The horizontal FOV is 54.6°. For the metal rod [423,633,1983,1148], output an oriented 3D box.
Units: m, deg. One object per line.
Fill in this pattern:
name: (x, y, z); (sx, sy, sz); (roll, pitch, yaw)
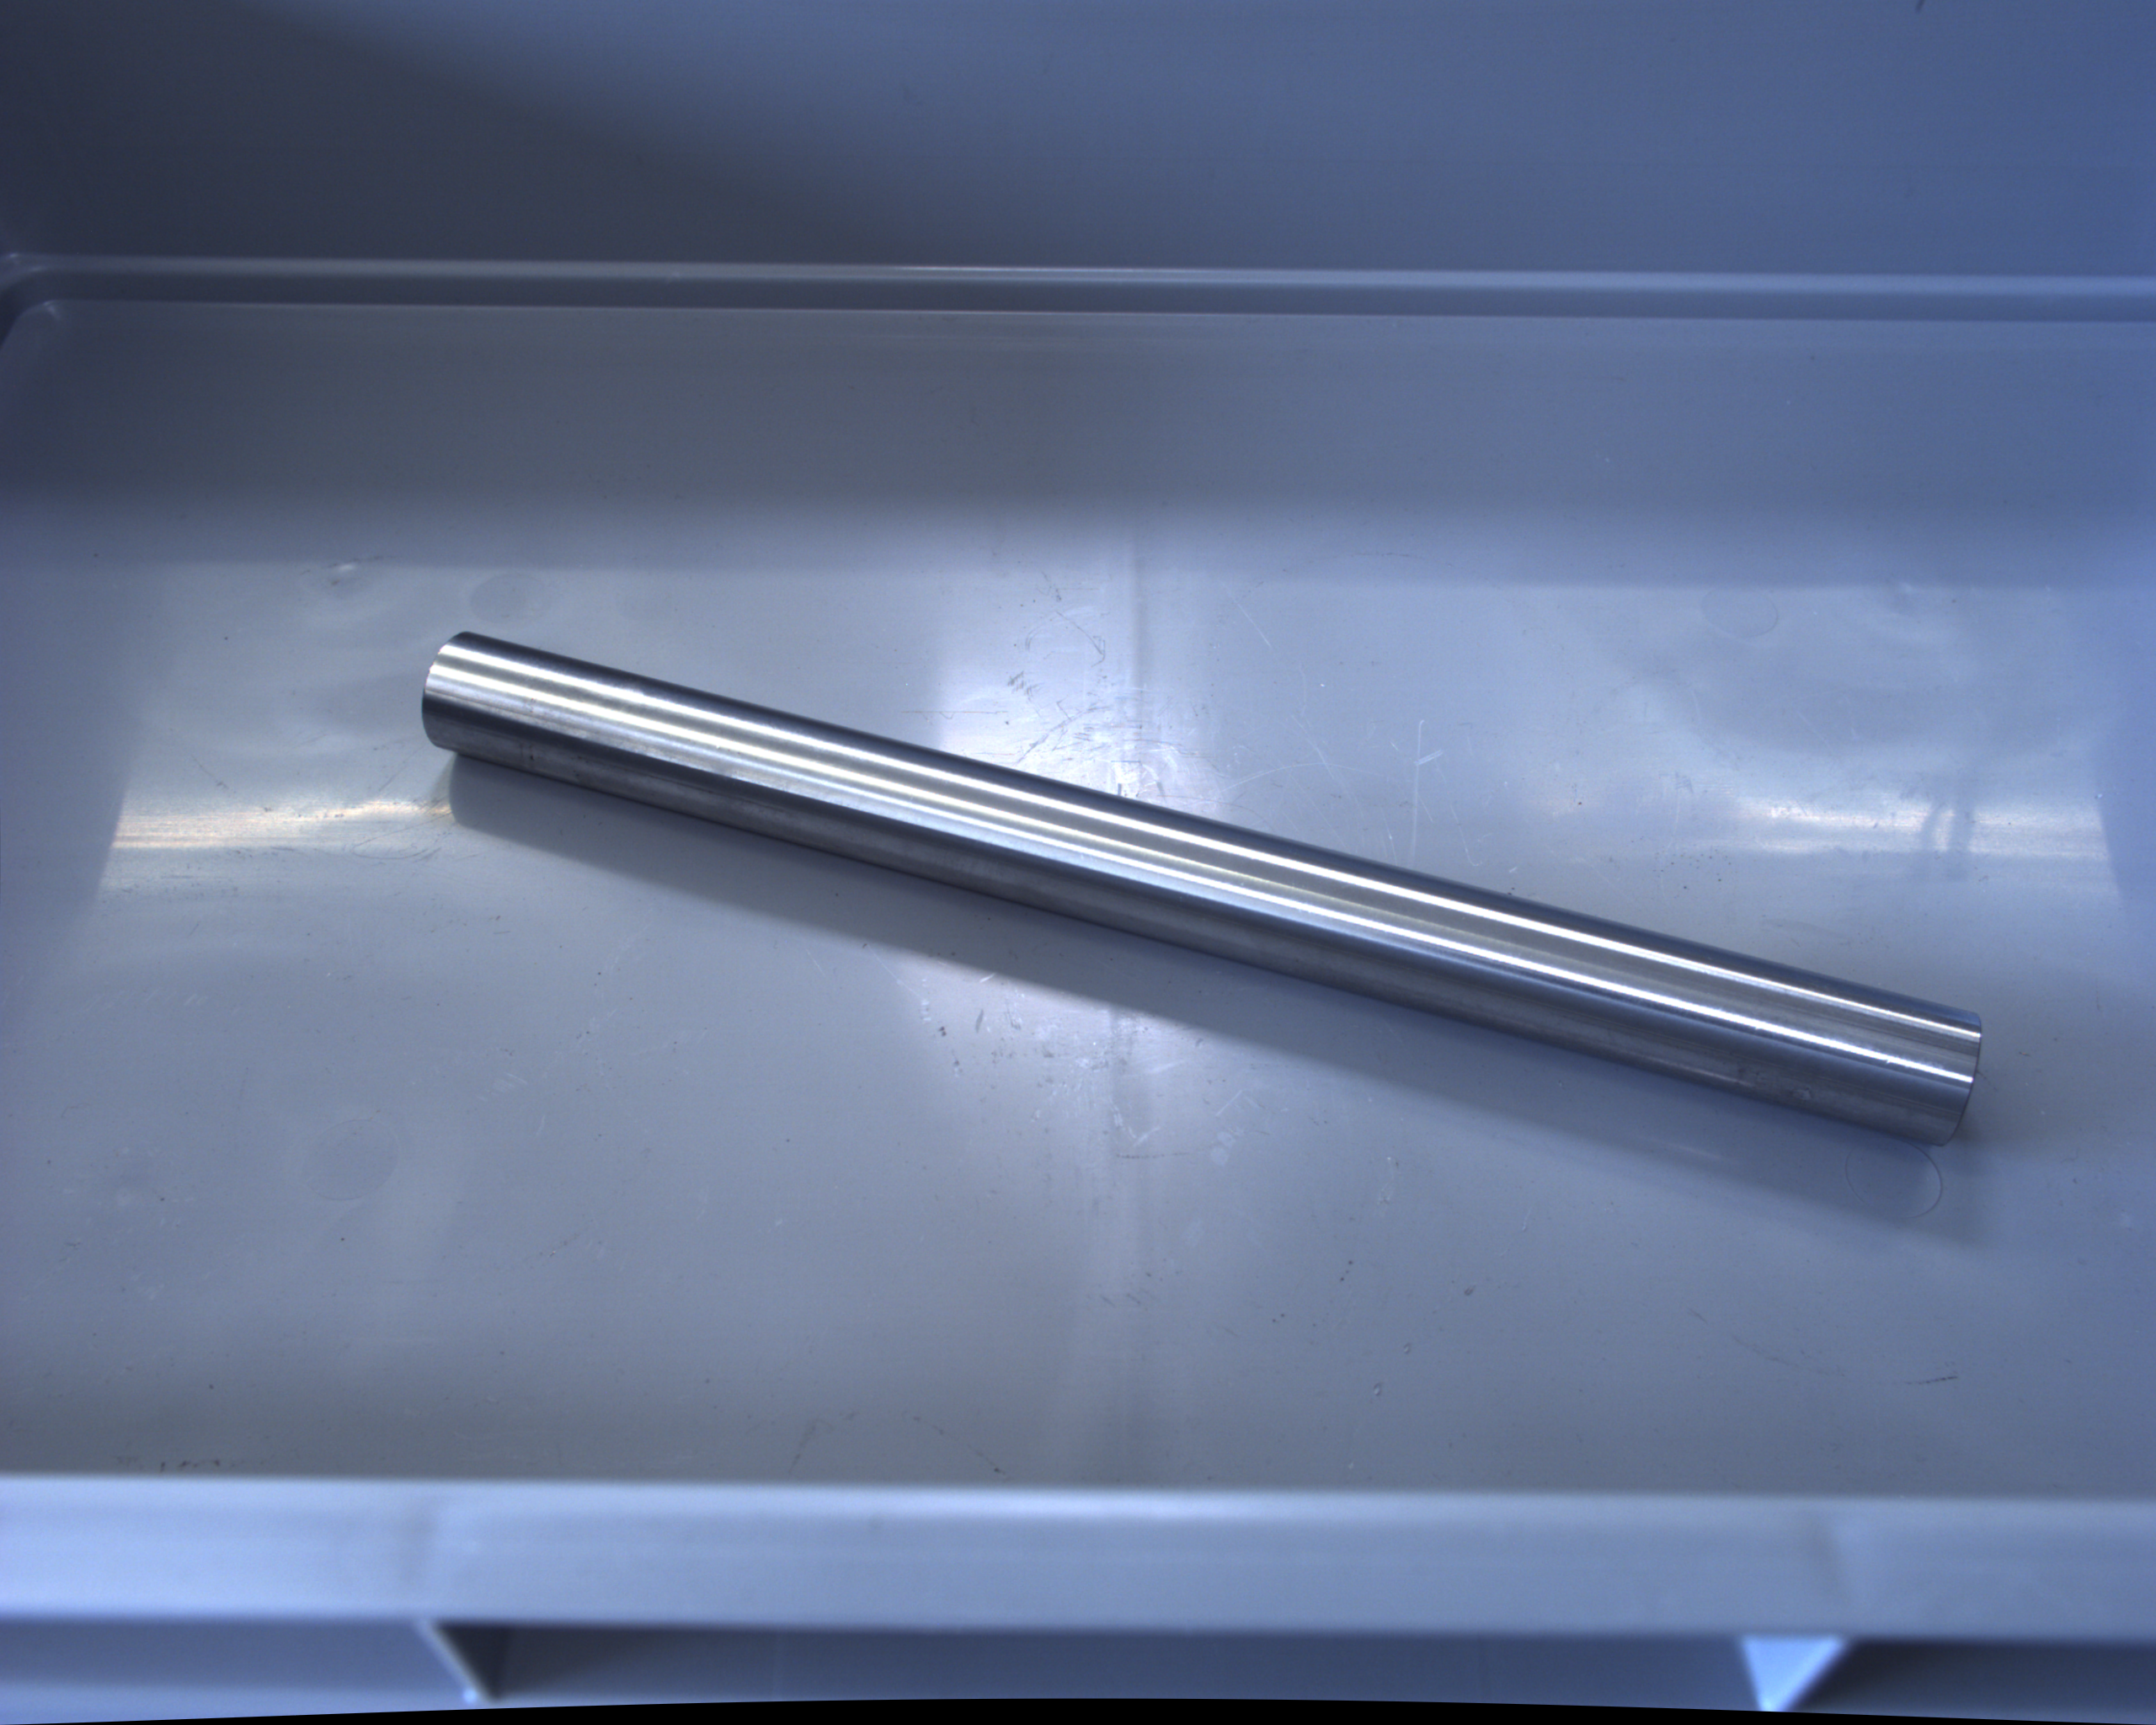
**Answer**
metal rod: (0.014, 0.002, 0.402); (0.301, 0.025, 0.025); (15, 52, 12)
